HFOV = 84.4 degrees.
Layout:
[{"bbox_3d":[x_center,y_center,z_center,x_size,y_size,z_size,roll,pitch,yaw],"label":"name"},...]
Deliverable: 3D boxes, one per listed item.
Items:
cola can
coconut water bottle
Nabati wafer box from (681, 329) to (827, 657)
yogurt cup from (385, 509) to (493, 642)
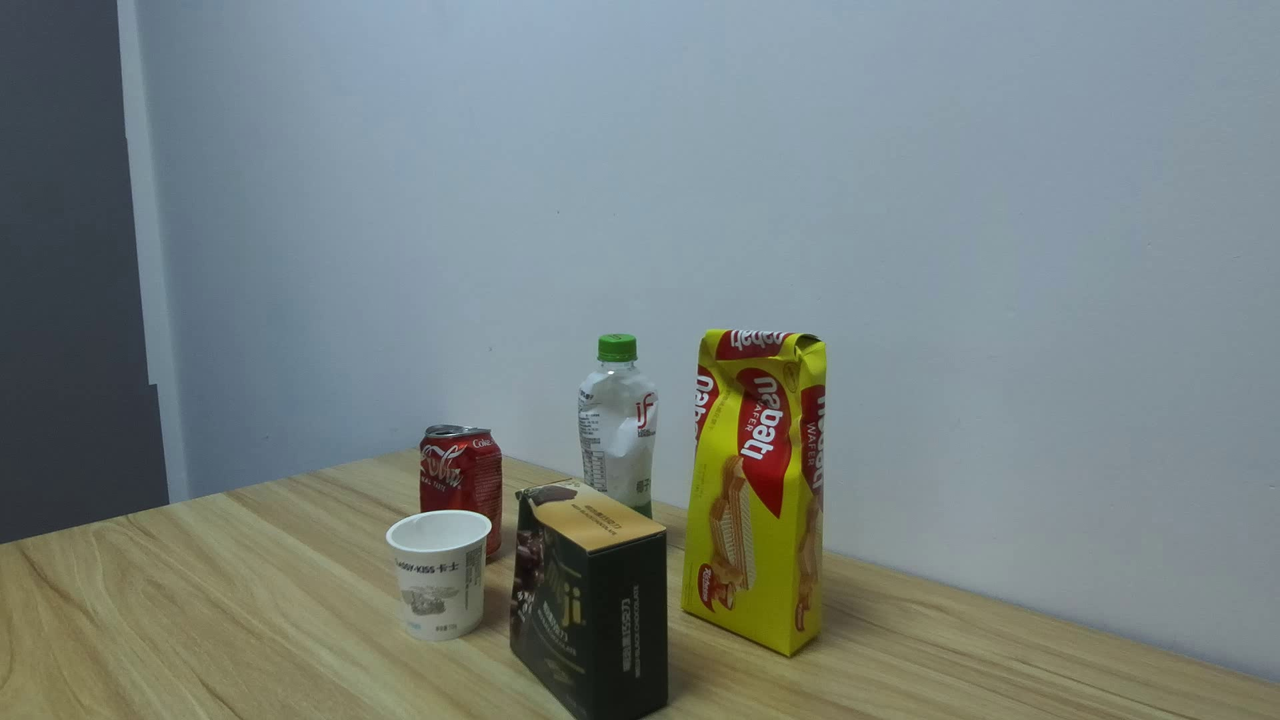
[{"bbox_3d":[-0.151,0.112,0.595,0.066,0.112,0.069,-5,9,-28],"label":"cola can"},{"bbox_3d":[-0.018,0.074,0.581,0.069,0.186,0.069,2,7,0],"label":"coconut water bottle"},{"bbox_3d":[0.075,0.083,0.473,0.113,0.205,0.043,7,10,43],"label":"Nabati wafer box"},{"bbox_3d":[-0.137,0.149,0.489,0.072,0.068,0.072,0,10,0],"label":"yogurt cup"}]
